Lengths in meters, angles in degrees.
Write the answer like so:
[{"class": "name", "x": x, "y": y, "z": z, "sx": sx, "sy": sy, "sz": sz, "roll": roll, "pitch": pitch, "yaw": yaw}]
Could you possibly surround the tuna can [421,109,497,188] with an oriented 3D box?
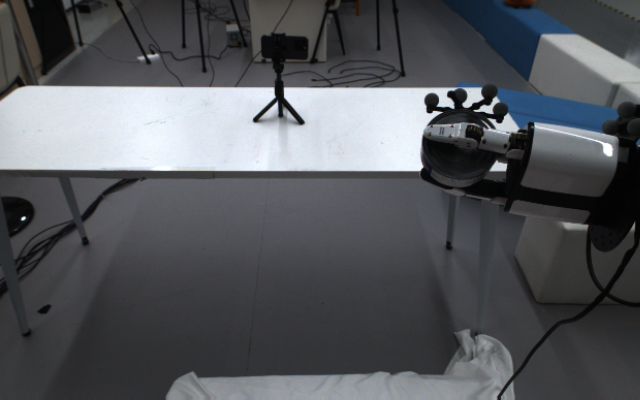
[{"class": "tuna can", "x": 0.160, "y": -0.063, "z": 0.558, "sx": 0.085, "sy": 0.034, "sz": 0.085, "roll": -2, "pitch": 70, "yaw": 6}]
